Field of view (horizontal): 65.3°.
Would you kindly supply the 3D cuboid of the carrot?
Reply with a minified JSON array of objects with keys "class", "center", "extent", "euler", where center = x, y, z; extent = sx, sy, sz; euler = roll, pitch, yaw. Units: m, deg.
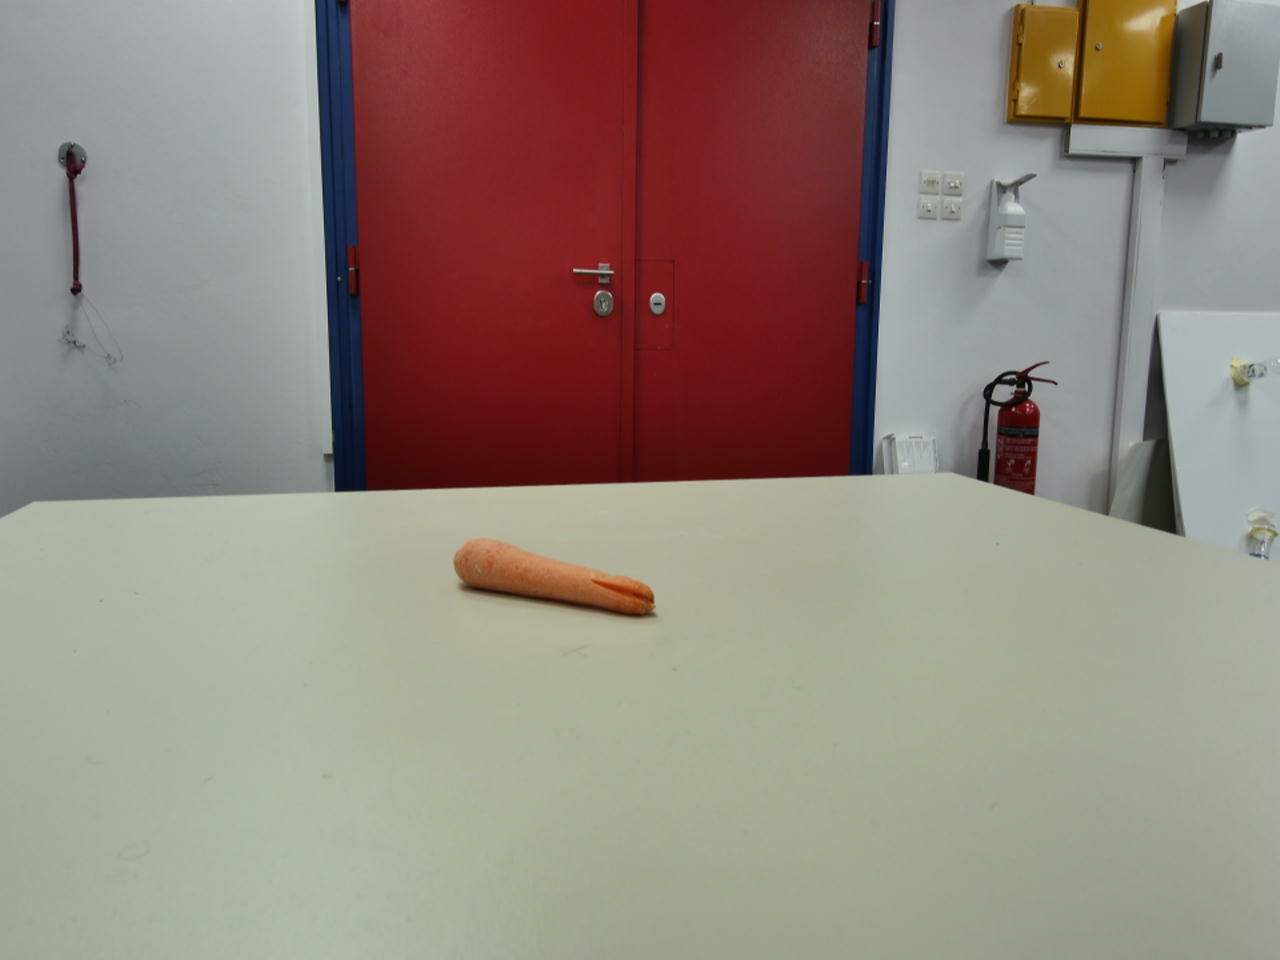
[{"class":"carrot","center":[-0.051,0.053,0.565],"extent":[0.136,0.032,0.030],"euler":[5,8,32]}]
